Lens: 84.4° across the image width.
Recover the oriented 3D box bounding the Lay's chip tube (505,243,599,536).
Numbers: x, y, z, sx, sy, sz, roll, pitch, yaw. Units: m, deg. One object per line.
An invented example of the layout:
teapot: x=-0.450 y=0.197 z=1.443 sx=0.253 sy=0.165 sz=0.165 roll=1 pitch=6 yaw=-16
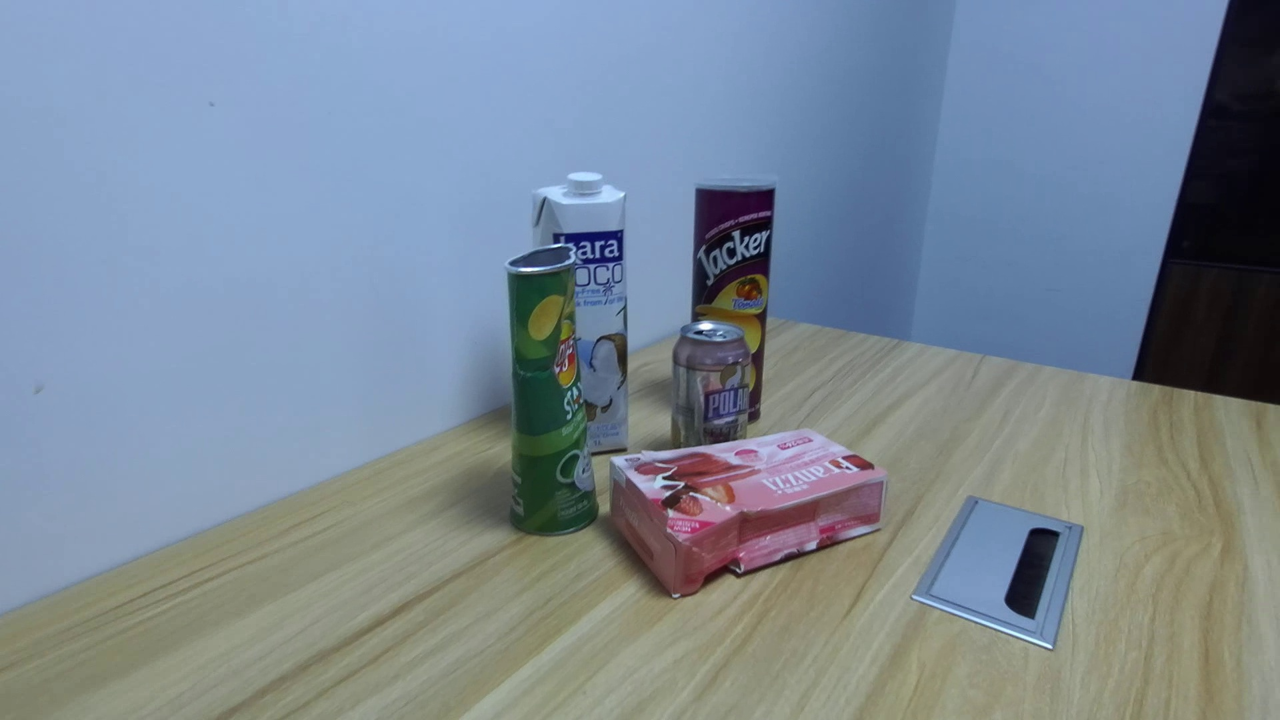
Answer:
Lay's chip tube: x=-0.067 y=0.024 z=0.522 sx=0.069 sy=0.199 sz=0.074 roll=-10 pitch=21 yaw=-26

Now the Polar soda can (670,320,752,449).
Polar soda can: x=0.061 y=0.033 z=0.609 sx=0.067 sy=0.125 sz=0.067 roll=1 pitch=19 yaw=0

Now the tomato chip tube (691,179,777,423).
tomato chip tube: x=0.089 y=-0.054 z=0.695 sx=0.078 sy=0.234 sz=0.078 roll=1 pitch=17 yaw=0

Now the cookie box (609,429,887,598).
cookie box: x=0.080 y=0.097 z=0.518 sx=0.186 sy=0.059 sz=0.104 roll=-9 pitch=24 yaw=-27

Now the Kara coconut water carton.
Kara coconut water carton: x=-0.051 y=-0.039 z=0.630 sx=0.077 sy=0.245 sz=0.075 roll=-6 pitch=18 yaw=-17
